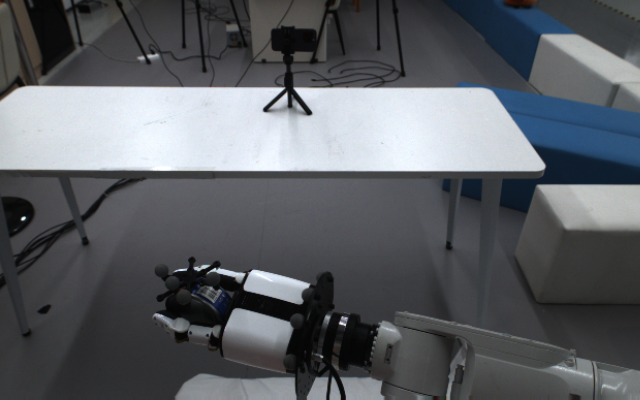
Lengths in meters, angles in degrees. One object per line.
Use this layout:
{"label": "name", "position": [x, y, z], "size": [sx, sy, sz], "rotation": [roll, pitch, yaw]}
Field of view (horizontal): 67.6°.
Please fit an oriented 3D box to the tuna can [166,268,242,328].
{"label": "tuna can", "position": [-0.153, 0.141, 0.633], "size": [0.085, 0.085, 0.034], "rotation": [14, 40, 16]}
